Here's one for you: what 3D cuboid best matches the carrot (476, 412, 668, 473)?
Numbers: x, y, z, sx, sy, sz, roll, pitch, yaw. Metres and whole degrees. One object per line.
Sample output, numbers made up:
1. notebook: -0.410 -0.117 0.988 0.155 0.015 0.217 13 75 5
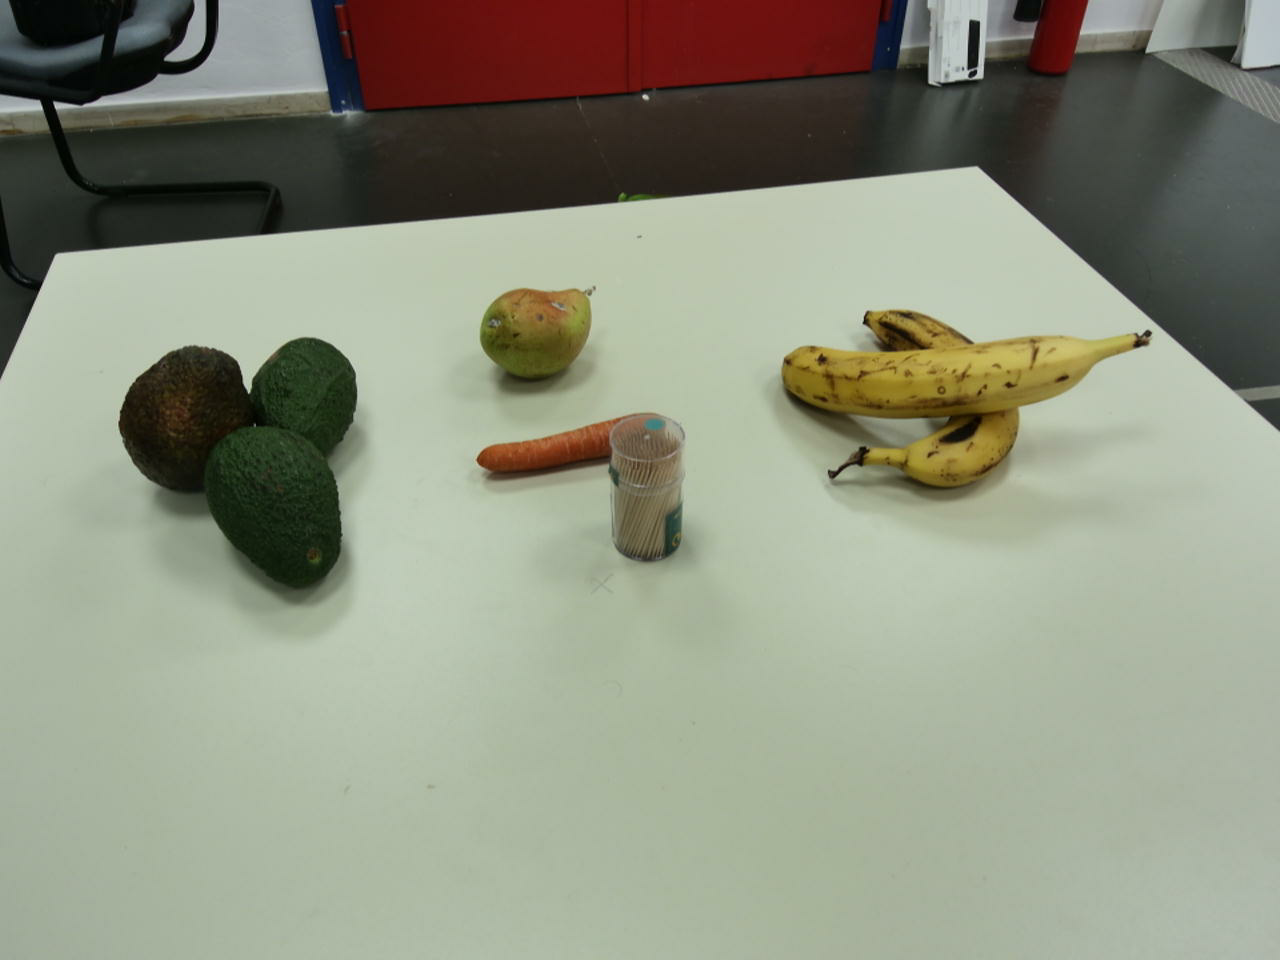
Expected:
1. carrot: -0.041 -0.023 0.623 0.122 0.023 0.024 -10 40 -12
